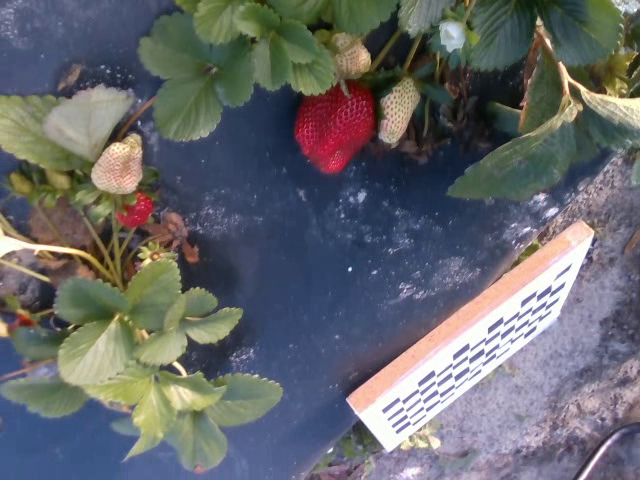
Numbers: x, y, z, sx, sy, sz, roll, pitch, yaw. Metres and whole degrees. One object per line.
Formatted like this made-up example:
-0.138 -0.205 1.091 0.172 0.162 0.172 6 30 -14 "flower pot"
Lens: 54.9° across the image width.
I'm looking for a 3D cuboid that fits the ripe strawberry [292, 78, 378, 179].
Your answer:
0.009 -0.074 0.407 0.057 0.070 0.058 26 -27 19 "ripe strawberry"
